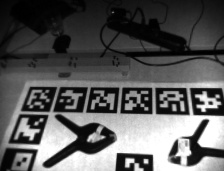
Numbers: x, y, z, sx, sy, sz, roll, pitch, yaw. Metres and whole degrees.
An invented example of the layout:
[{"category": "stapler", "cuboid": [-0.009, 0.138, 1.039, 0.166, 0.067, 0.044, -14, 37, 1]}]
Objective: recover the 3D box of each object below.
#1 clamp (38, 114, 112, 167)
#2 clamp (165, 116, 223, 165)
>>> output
[{"category": "clamp", "cuboid": [-0.102, 0.155, 0.637, 0.202, 0.037, 0.164, -2, 53, 5]}, {"category": "clamp", "cuboid": [0.220, 0.165, 0.592, 0.165, 0.037, 0.121, -23, 64, -7]}]
